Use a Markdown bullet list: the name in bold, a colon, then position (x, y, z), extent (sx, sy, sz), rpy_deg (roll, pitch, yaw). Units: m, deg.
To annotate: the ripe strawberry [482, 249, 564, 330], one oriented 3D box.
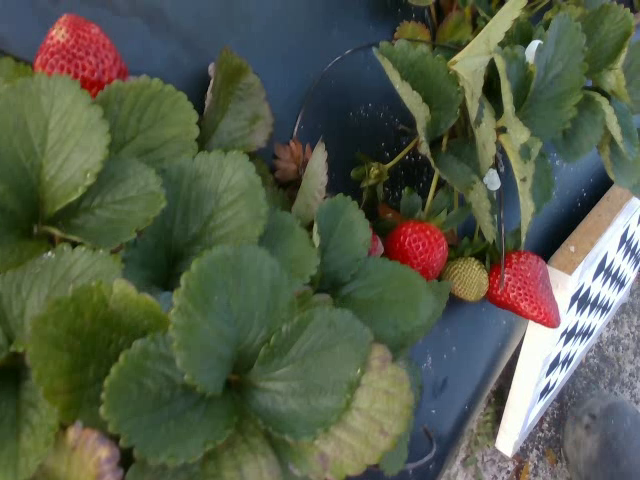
- **ripe strawberry**: position (0.062, 0.017, 0.175), extent (0.022, 0.030, 0.025), rpy_deg (-28, -30, -1)
